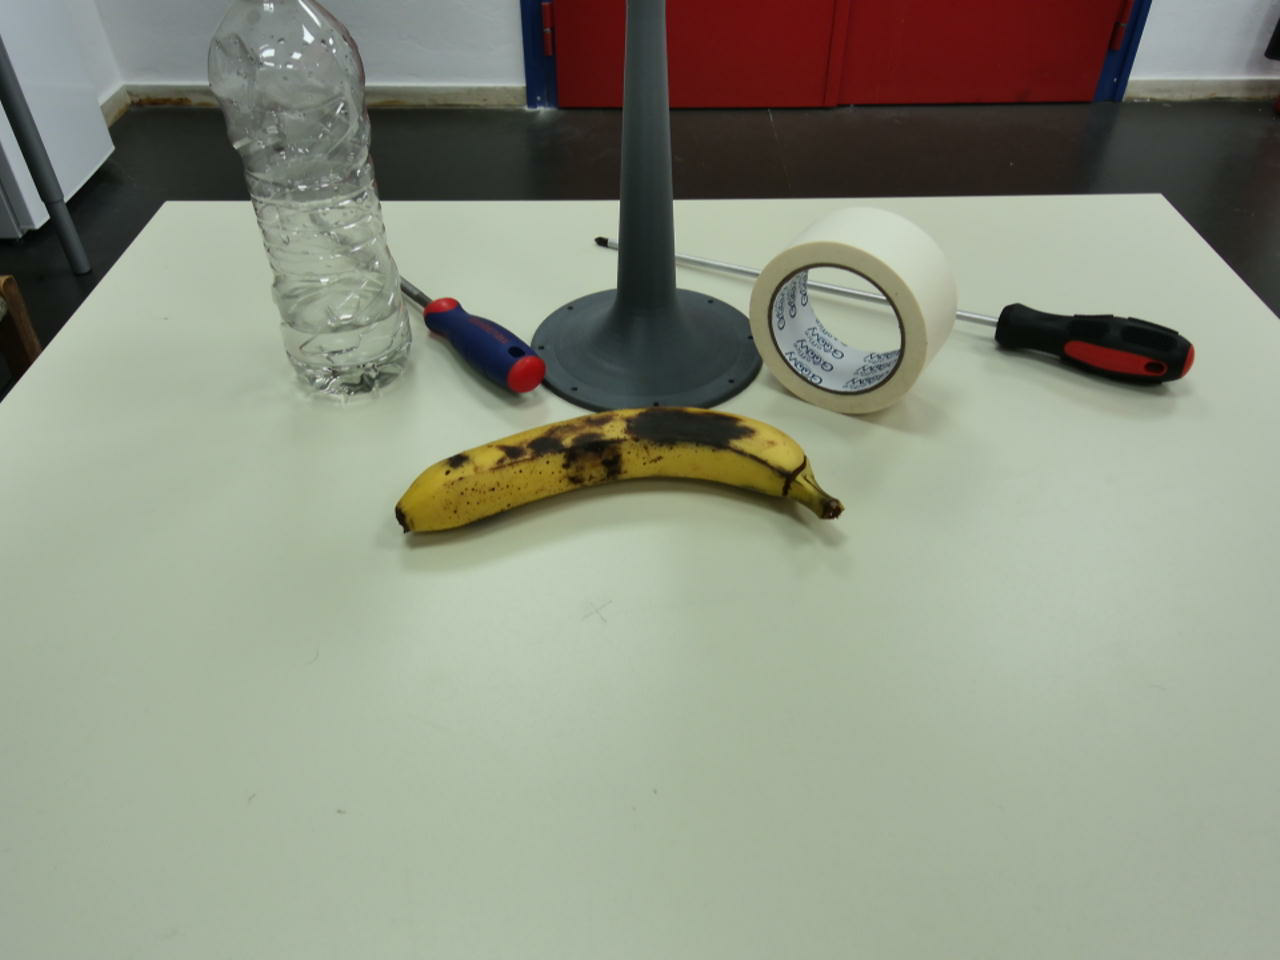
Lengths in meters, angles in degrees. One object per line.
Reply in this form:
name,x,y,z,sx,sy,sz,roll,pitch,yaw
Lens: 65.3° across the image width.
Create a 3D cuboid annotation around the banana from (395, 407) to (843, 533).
banana,-0.011,-0.007,0.522,0.222,0.037,0.084,0,39,0
